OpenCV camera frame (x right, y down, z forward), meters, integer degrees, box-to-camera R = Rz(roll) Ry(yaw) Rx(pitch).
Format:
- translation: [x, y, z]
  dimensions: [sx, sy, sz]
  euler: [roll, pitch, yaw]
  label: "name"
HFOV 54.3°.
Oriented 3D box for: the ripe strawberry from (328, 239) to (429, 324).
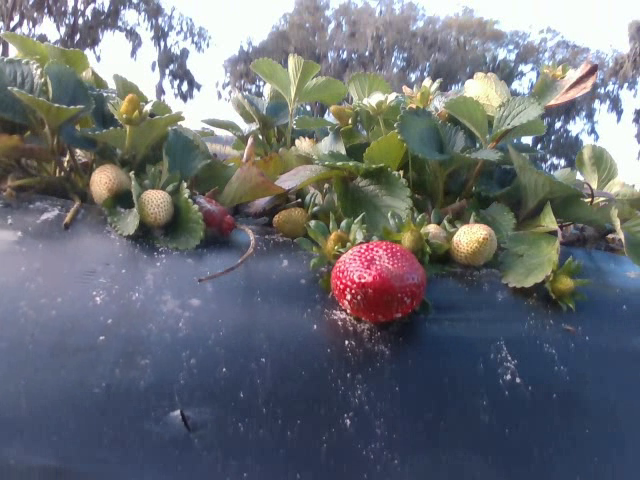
- translation: [0.031, 0.019, 0.322]
  dimensions: [0.053, 0.044, 0.068]
  euler: [8, 0, -1]
  label: "ripe strawberry"
